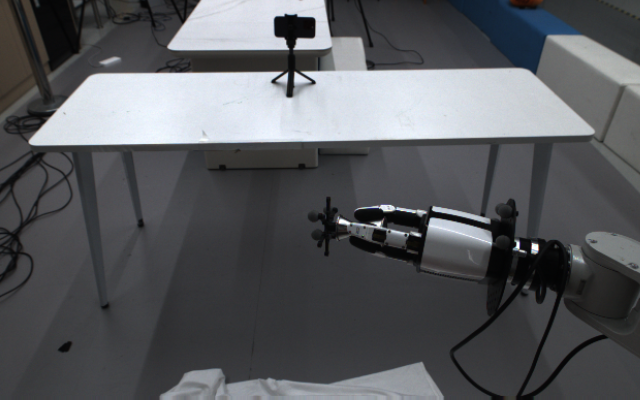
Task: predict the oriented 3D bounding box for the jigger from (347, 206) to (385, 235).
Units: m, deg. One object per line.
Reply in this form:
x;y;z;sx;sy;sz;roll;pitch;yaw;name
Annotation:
0.067;0.038;0.701;0.071;0.043;0.043;3;34;17;jigger
